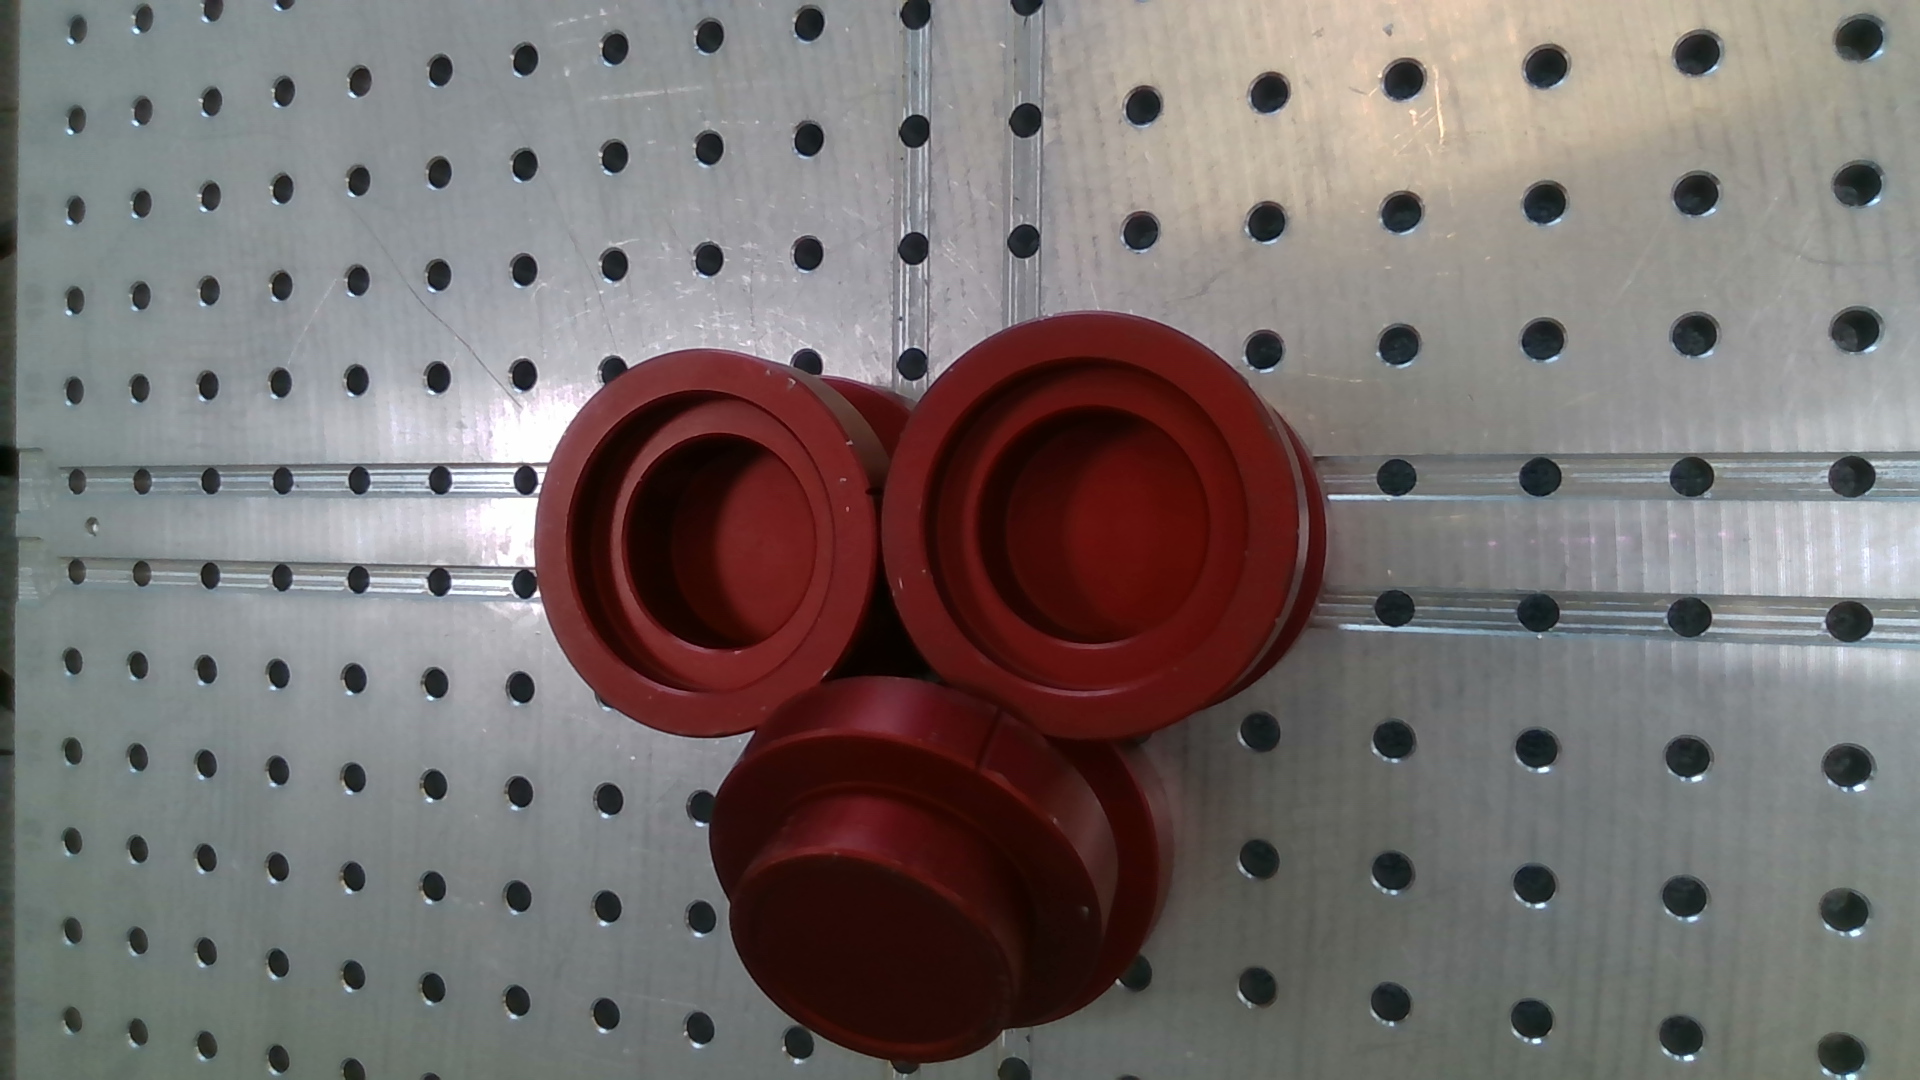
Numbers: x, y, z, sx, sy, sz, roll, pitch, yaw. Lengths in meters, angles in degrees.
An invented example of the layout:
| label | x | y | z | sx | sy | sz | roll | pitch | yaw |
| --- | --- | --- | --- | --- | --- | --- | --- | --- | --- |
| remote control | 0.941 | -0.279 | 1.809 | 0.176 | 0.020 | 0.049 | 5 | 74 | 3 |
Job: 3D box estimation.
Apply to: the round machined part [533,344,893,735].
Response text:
| label | x | y | z | sx | sy | sz | roll | pitch | yaw |
| --- | --- | --- | --- | --- | --- | --- | --- | --- | --- |
| round machined part | -0.059 | 0.000 | 0.364 | 0.098 | 0.042 | 0.098 | 0 | 90 | 20 |

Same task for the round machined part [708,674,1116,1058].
| label | x | y | z | sx | sy | sz | roll | pitch | yaw |
| --- | --- | --- | --- | --- | --- | --- | --- | --- | --- |
| round machined part | -0.015 | 0.083 | 0.326 | 0.098 | 0.042 | 0.098 | 9 | 125 | 14 |

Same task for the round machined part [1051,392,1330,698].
| label | x | y | z | sx | sy | sz | roll | pitch | yaw |
| --- | --- | --- | --- | --- | --- | --- | --- | --- | --- |
| round machined part | 0.048 | -0.002 | 0.370 | 0.098 | 0.042 | 0.098 | 0 | 90 | 20 |

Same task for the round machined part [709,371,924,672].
| label | x | y | z | sx | sy | sz | roll | pitch | yaw |
| --- | --- | --- | --- | --- | --- | --- | --- | --- | --- |
| round machined part | -0.044 | -0.001 | 0.404 | 0.098 | 0.042 | 0.098 | 0 | 90 | 20 |

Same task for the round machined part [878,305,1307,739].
| label | x | y | z | sx | sy | sz | roll | pitch | yaw |
| --- | --- | --- | --- | --- | --- | --- | --- | --- | --- |
| round machined part | 0.033 | -0.004 | 0.330 | 0.098 | 0.042 | 0.098 | 0 | 90 | 20 |

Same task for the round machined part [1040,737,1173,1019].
| label | x | y | z | sx | sy | sz | roll | pitch | yaw |
| --- | --- | --- | --- | --- | --- | --- | --- | --- | --- |
| round machined part | 0.007 | 0.087 | 0.386 | 0.098 | 0.042 | 0.098 | 0 | 90 | 20 |
